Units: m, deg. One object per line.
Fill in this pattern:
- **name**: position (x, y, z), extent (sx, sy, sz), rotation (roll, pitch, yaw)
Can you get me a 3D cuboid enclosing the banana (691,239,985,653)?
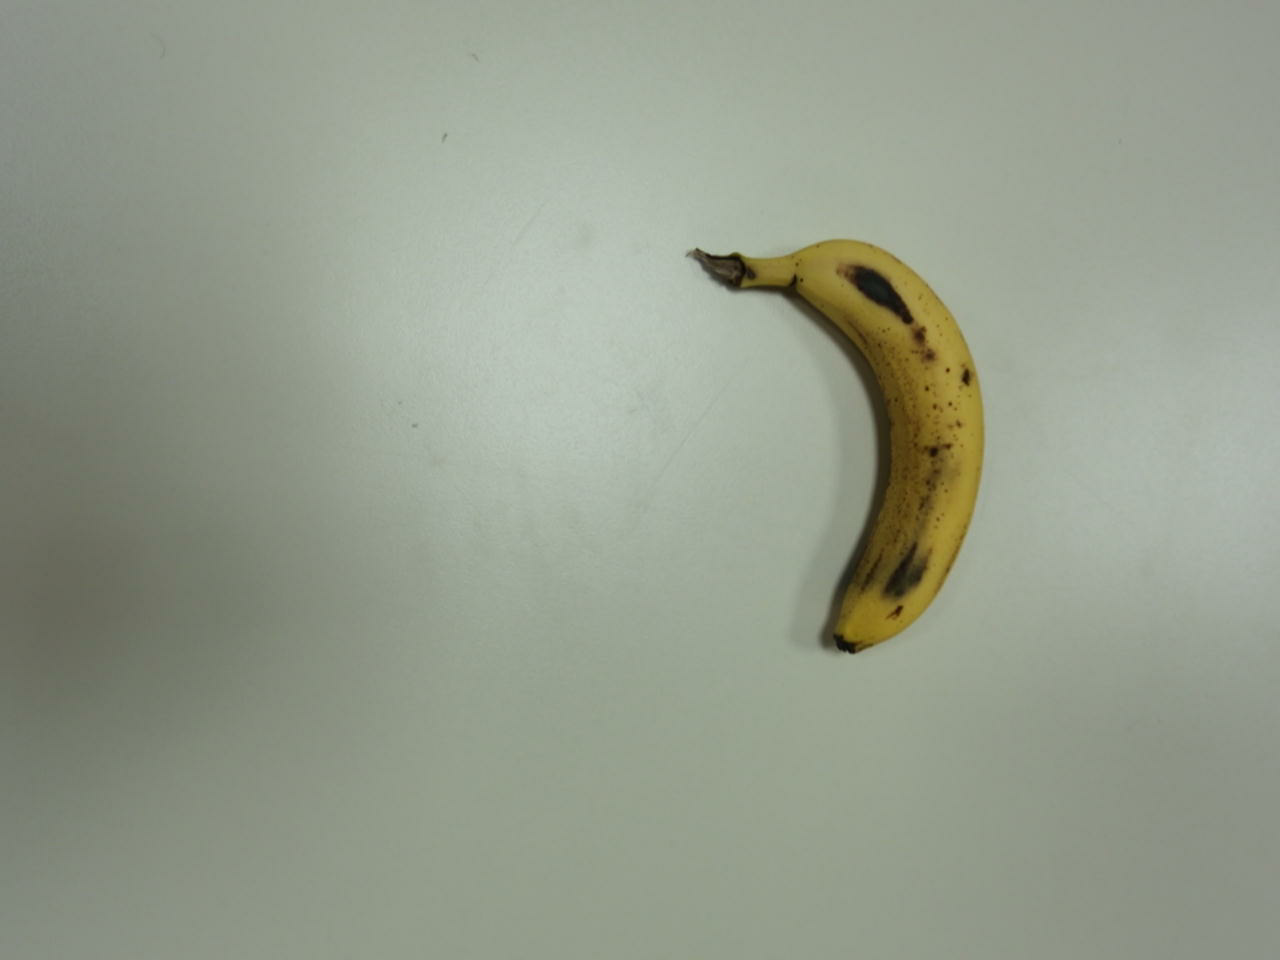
- **banana**: position (0.105, -0.025, 0.443), extent (0.097, 0.038, 0.186), rotation (-19, 93, -11)
